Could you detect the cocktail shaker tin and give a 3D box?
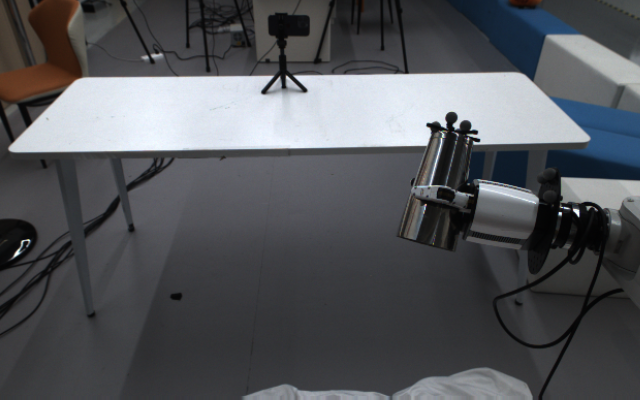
[{"bbox_3d":[0.182,-0.016,0.743,0.093,0.170,0.093,16,-4,1],"label":"cocktail shaker tin"}]
